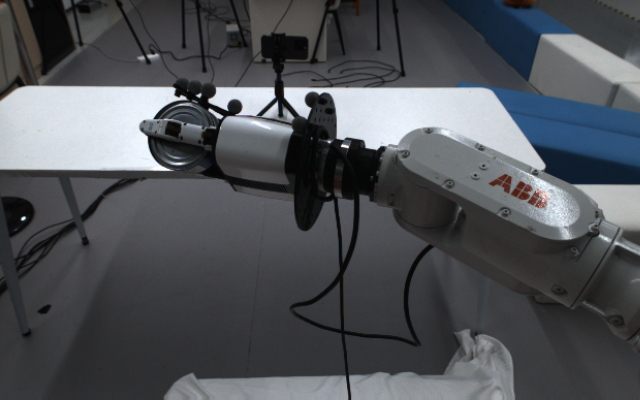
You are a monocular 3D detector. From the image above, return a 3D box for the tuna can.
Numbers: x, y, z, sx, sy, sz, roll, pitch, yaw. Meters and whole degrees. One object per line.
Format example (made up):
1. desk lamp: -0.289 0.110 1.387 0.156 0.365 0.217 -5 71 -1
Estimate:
1. tuna can: -0.160 -0.076 0.588 0.085 0.085 0.034 13 -6 16
